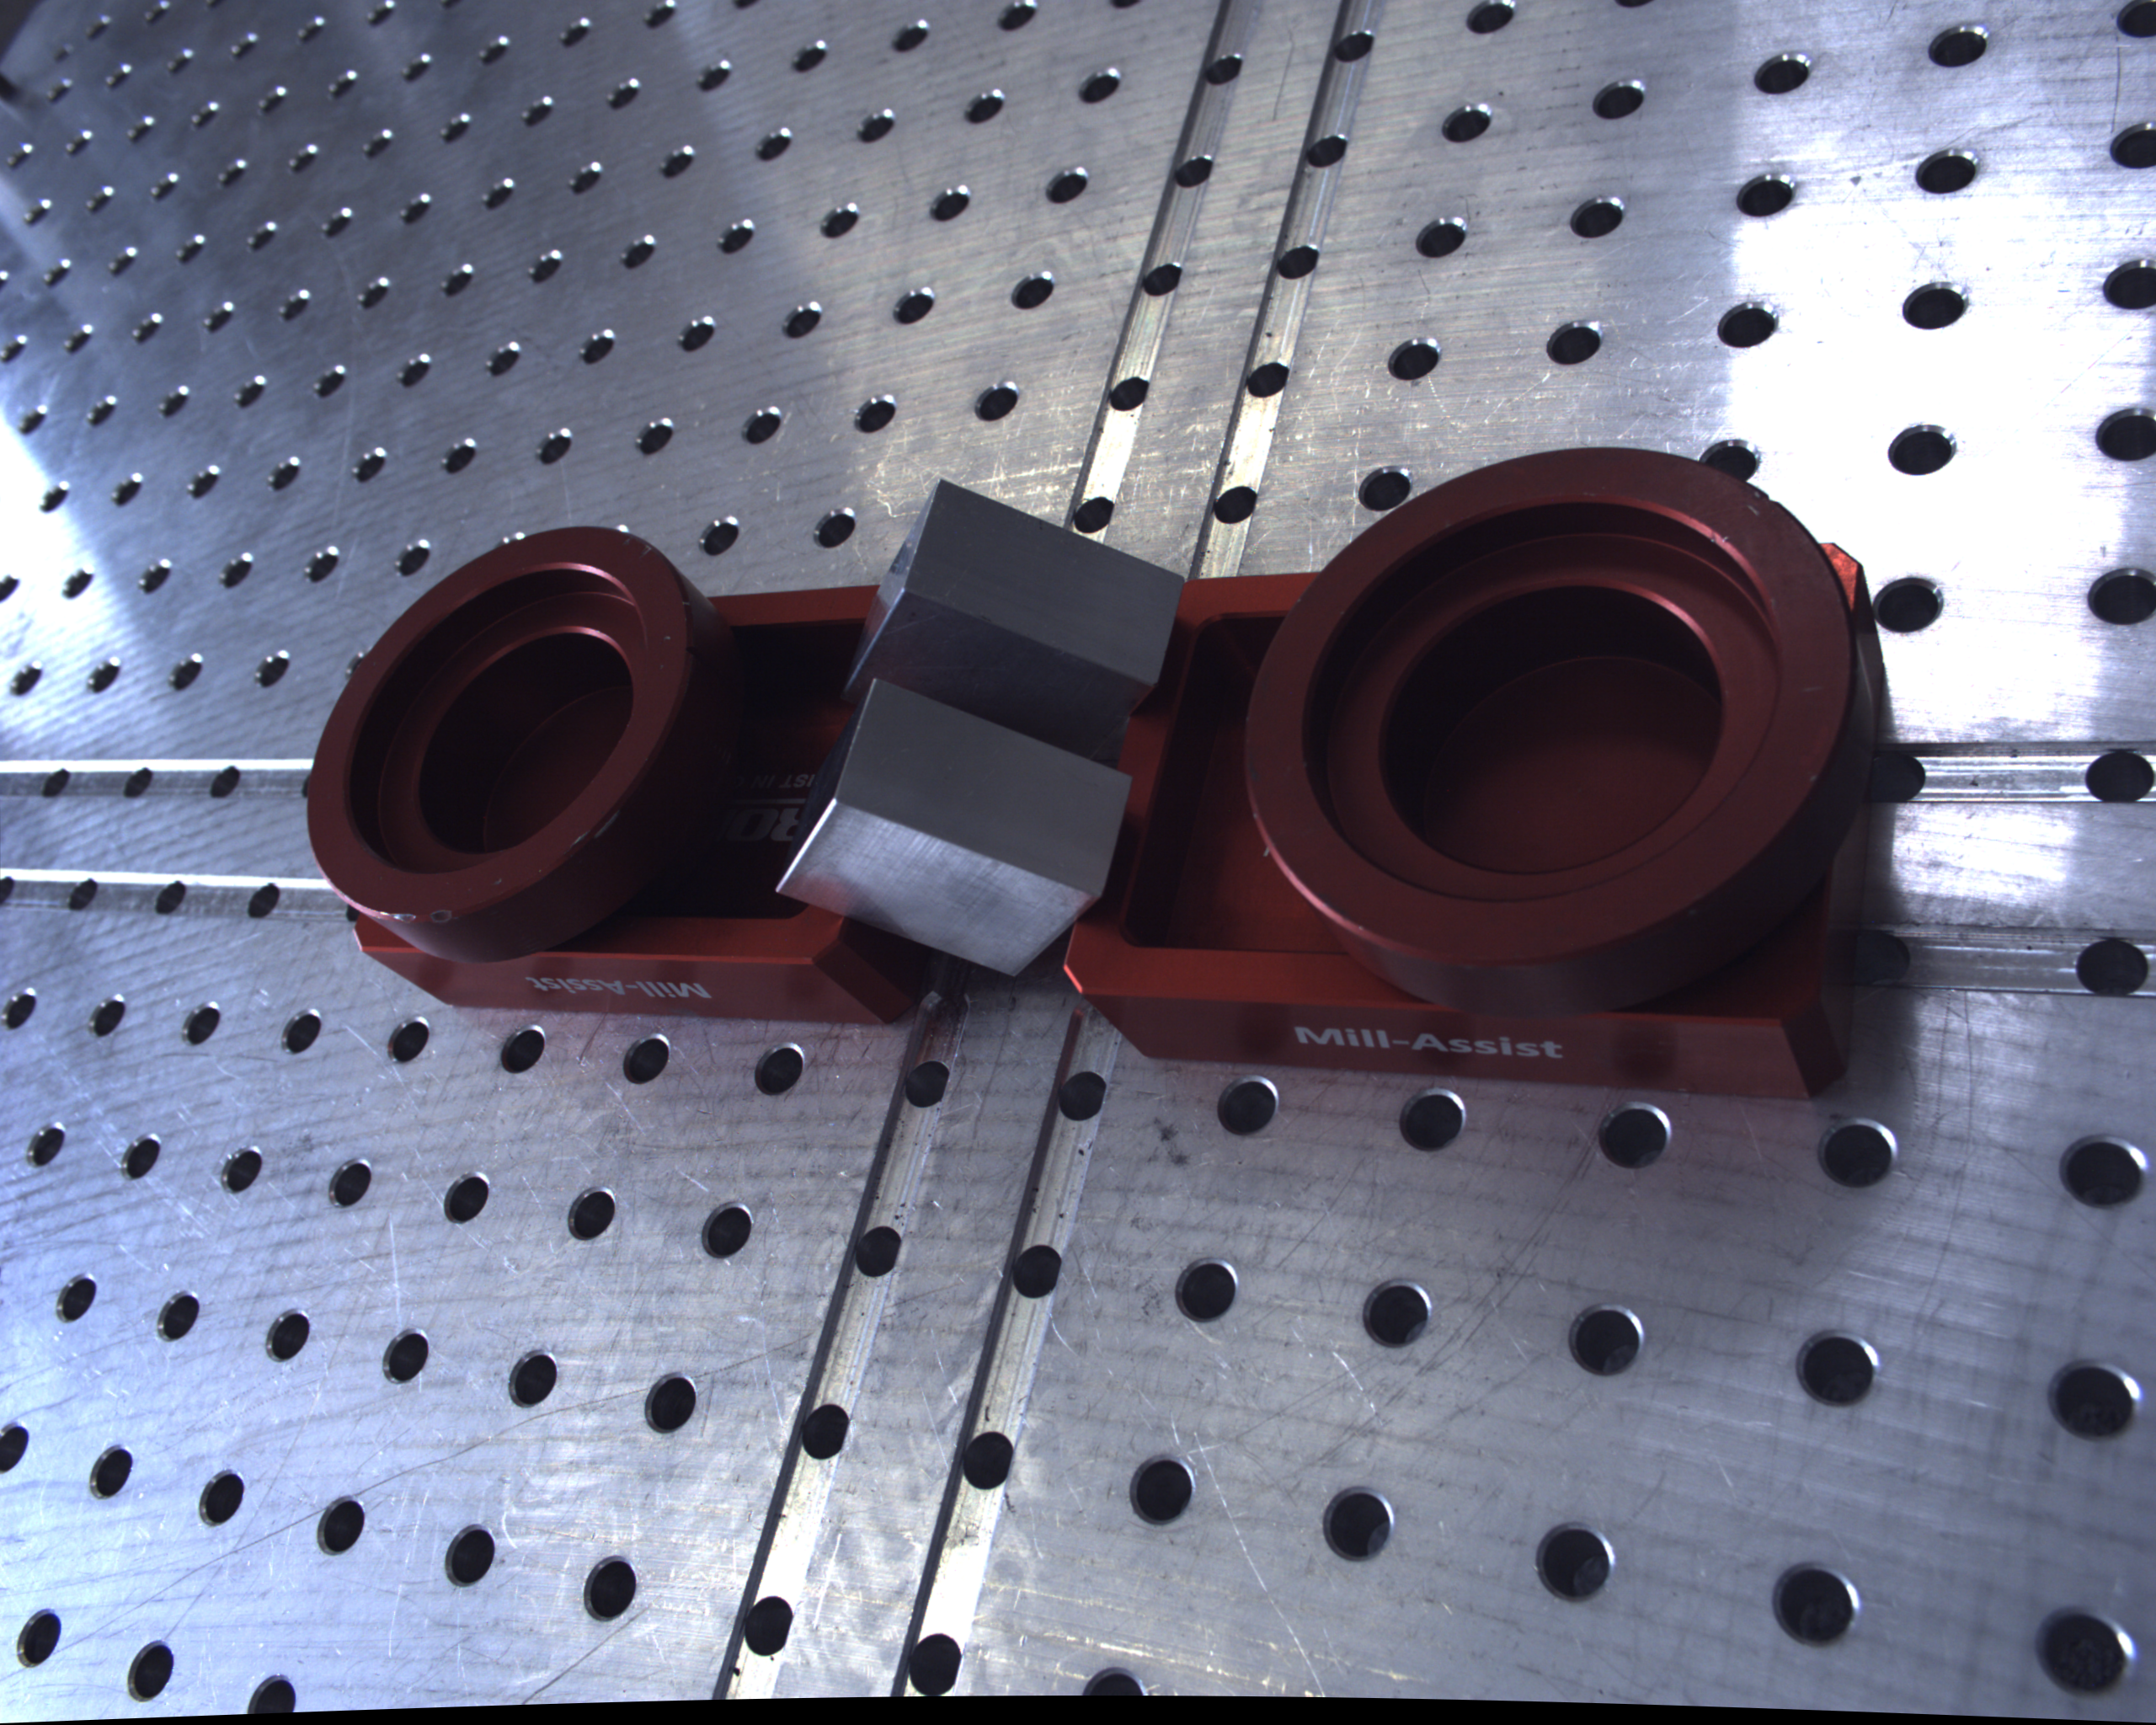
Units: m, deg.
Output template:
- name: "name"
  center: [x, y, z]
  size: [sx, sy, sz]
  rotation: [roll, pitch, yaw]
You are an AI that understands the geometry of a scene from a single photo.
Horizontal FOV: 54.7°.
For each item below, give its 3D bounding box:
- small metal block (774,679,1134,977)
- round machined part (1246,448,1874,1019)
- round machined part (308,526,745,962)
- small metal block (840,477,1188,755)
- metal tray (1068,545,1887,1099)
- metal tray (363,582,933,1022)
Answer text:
- name: "small metal block"
  center: [-0.024, -0.005, 0.389]
  size: [0.050, 0.050, 0.025]
  rotation: [136, 151, -62]
- name: "round machined part"
  center: [0.081, -0.018, 0.350]
  size: [0.098, 0.042, 0.098]
  rotation: [-13, 56, 21]
- name: "round machined part"
  center: [-0.114, -0.022, 0.455]
  size: [0.098, 0.042, 0.098]
  rotation: [-13, 56, 21]
- name: "small metal block"
  center: [-0.013, -0.044, 0.408]
  size: [0.050, 0.050, 0.025]
  rotation: [136, 151, -62]
- name: "metal tray"
  center: [0.071, -0.009, 0.374]
  size: [0.130, 0.030, 0.090]
  rotation: [1, 62, 28]
- name: "metal tray"
  center: [-0.087, -0.013, 0.461]
  size: [0.130, 0.030, 0.090]
  rotation: [0, 63, 28]
